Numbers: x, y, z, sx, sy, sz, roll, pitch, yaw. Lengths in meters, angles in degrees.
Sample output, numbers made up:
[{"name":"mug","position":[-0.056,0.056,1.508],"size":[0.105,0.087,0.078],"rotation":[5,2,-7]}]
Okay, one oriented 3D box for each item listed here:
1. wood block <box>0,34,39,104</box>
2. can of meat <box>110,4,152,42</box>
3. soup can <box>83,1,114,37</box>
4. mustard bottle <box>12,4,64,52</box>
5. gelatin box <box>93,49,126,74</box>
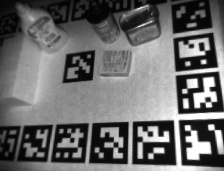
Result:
[{"name":"wood block","position":[-0.314,-0.056,0.687],"size":[0.090,0.091,0.205],"rotation":[-4,66,17]},{"name":"can of meat","position":[0.057,-0.174,0.602],"size":[0.101,0.084,0.057],"rotation":[-18,66,11]},{"name":"soup can","position":[-0.041,-0.193,0.623],"size":[0.067,0.103,0.068],"rotation":[-6,70,19]},{"name":"mustard bottle","position":[-0.234,-0.179,0.651],"size":[0.096,0.193,0.058],"rotation":[-30,63,7]},{"name":"gelatin box","position":[-0.011,-0.072,0.614],"size":[0.088,0.030,0.073],"rotation":[4,75,24]}]
